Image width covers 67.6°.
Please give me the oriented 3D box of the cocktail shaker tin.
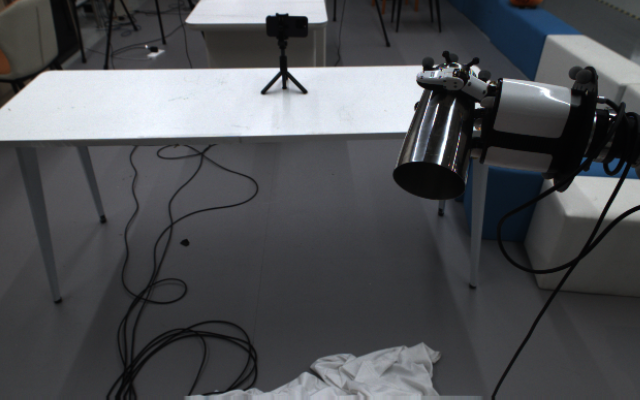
[{"bbox_3d":[0.163,-0.100,0.642,0.093,0.093,0.170,13,66,15],"label":"cocktail shaker tin"}]
